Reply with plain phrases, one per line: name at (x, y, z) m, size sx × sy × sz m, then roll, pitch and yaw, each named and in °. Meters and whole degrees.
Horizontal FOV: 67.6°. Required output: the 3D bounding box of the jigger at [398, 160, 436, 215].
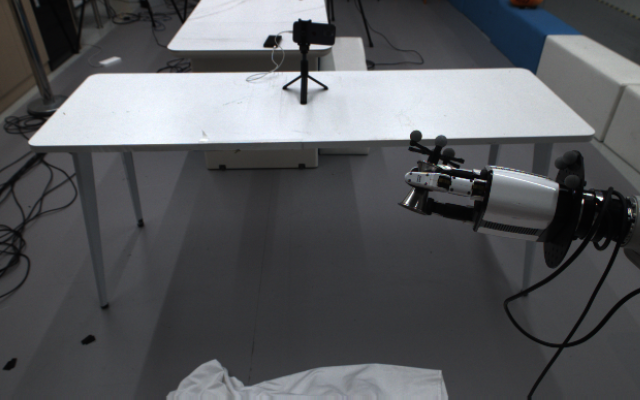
jigger at (0.141, -0.020, 0.682) m, size 0.043 × 0.071 × 0.043 m, roll 25°, pitch -3°, yaw 1°
